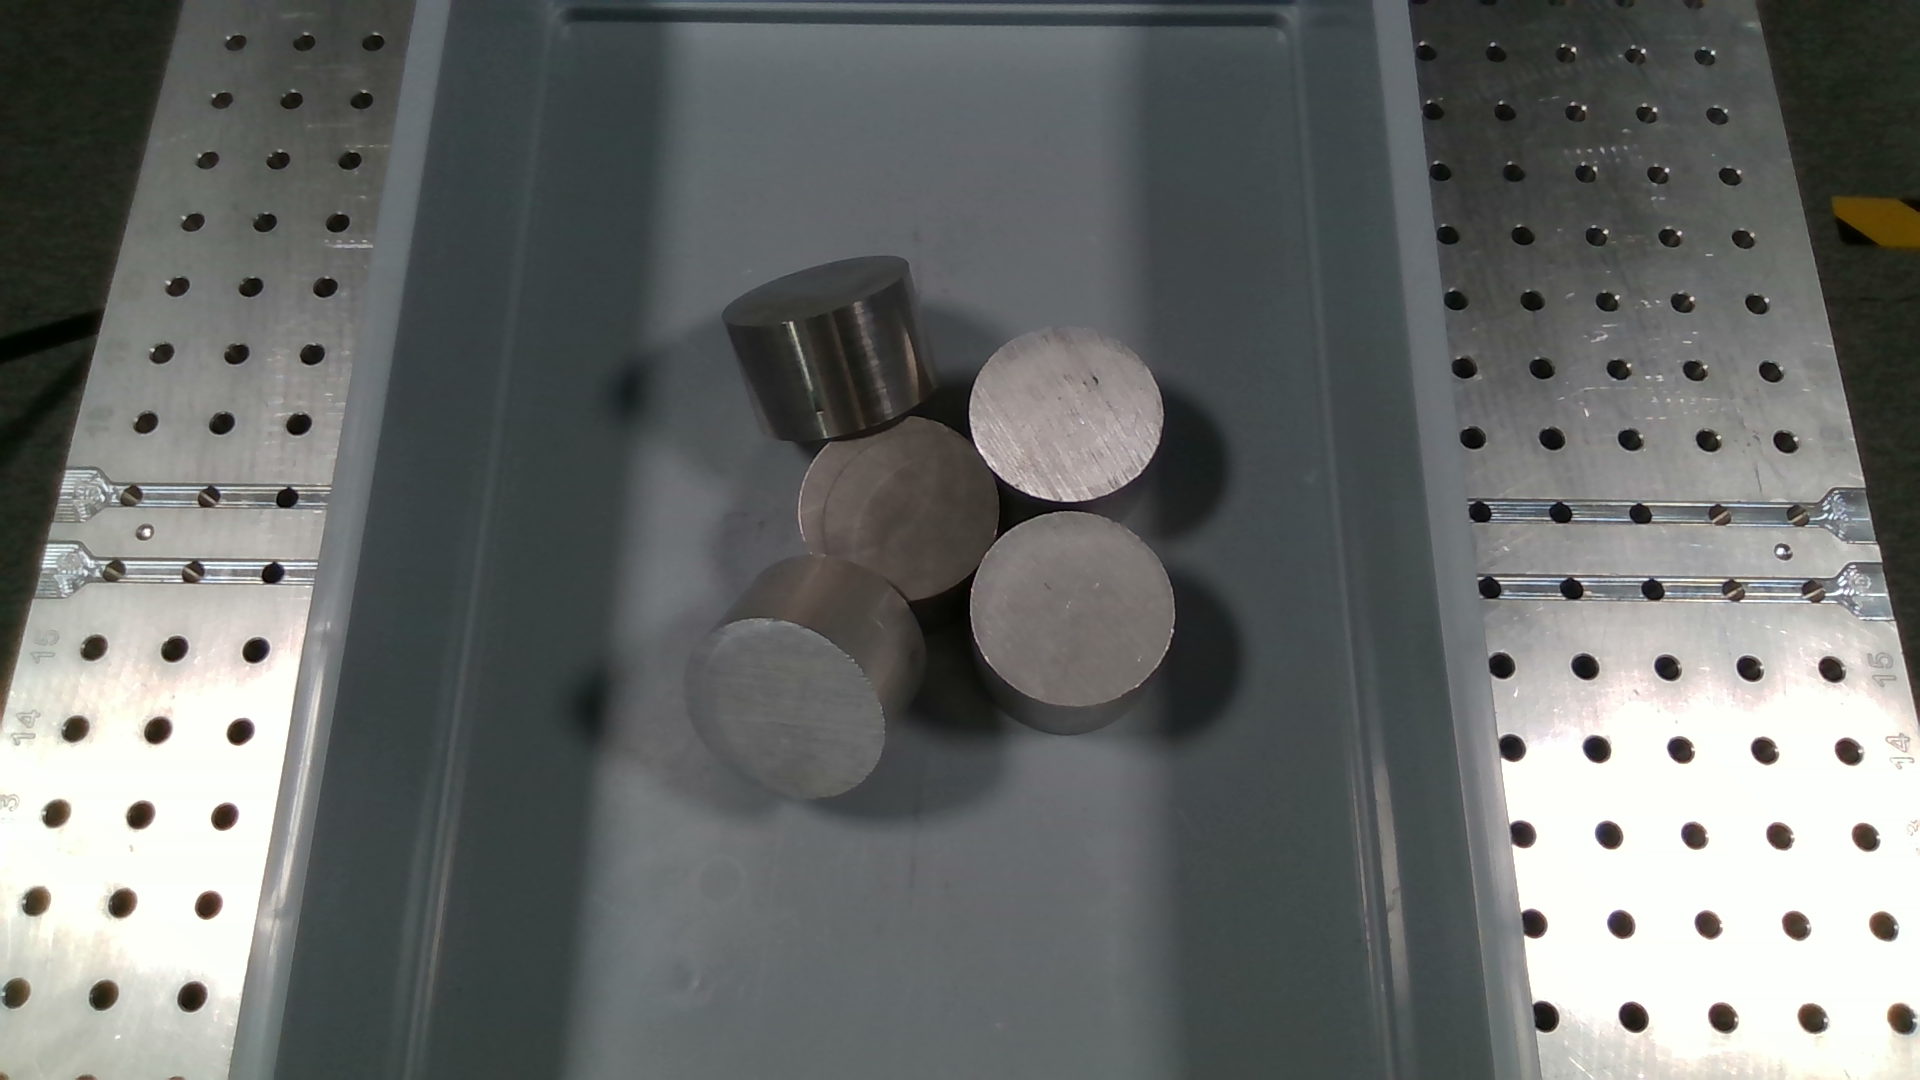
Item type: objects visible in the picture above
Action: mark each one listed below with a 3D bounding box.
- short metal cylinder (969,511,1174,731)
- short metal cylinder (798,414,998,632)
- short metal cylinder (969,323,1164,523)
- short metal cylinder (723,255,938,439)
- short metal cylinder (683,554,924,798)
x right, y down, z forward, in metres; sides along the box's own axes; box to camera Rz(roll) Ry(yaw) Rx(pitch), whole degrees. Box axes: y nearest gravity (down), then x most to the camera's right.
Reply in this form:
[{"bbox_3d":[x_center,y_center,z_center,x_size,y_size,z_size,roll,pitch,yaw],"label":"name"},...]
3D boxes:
[{"bbox_3d":[0.044,0.034,0.562,0.080,0.050,0.080,0,70,0],"label":"short metal cylinder"},{"bbox_3d":[-0.025,-0.005,0.574,0.080,0.050,0.080,0,70,0],"label":"short metal cylinder"},{"bbox_3d":[0.044,-0.045,0.589,0.080,0.050,0.080,0,70,0],"label":"short metal cylinder"},{"bbox_3d":[-0.054,-0.083,0.581,0.080,0.080,0.050,-19,115,-7],"label":"short metal cylinder"},{"bbox_3d":[-0.059,0.052,0.532,0.080,0.080,0.050,19,32,7],"label":"short metal cylinder"}]
